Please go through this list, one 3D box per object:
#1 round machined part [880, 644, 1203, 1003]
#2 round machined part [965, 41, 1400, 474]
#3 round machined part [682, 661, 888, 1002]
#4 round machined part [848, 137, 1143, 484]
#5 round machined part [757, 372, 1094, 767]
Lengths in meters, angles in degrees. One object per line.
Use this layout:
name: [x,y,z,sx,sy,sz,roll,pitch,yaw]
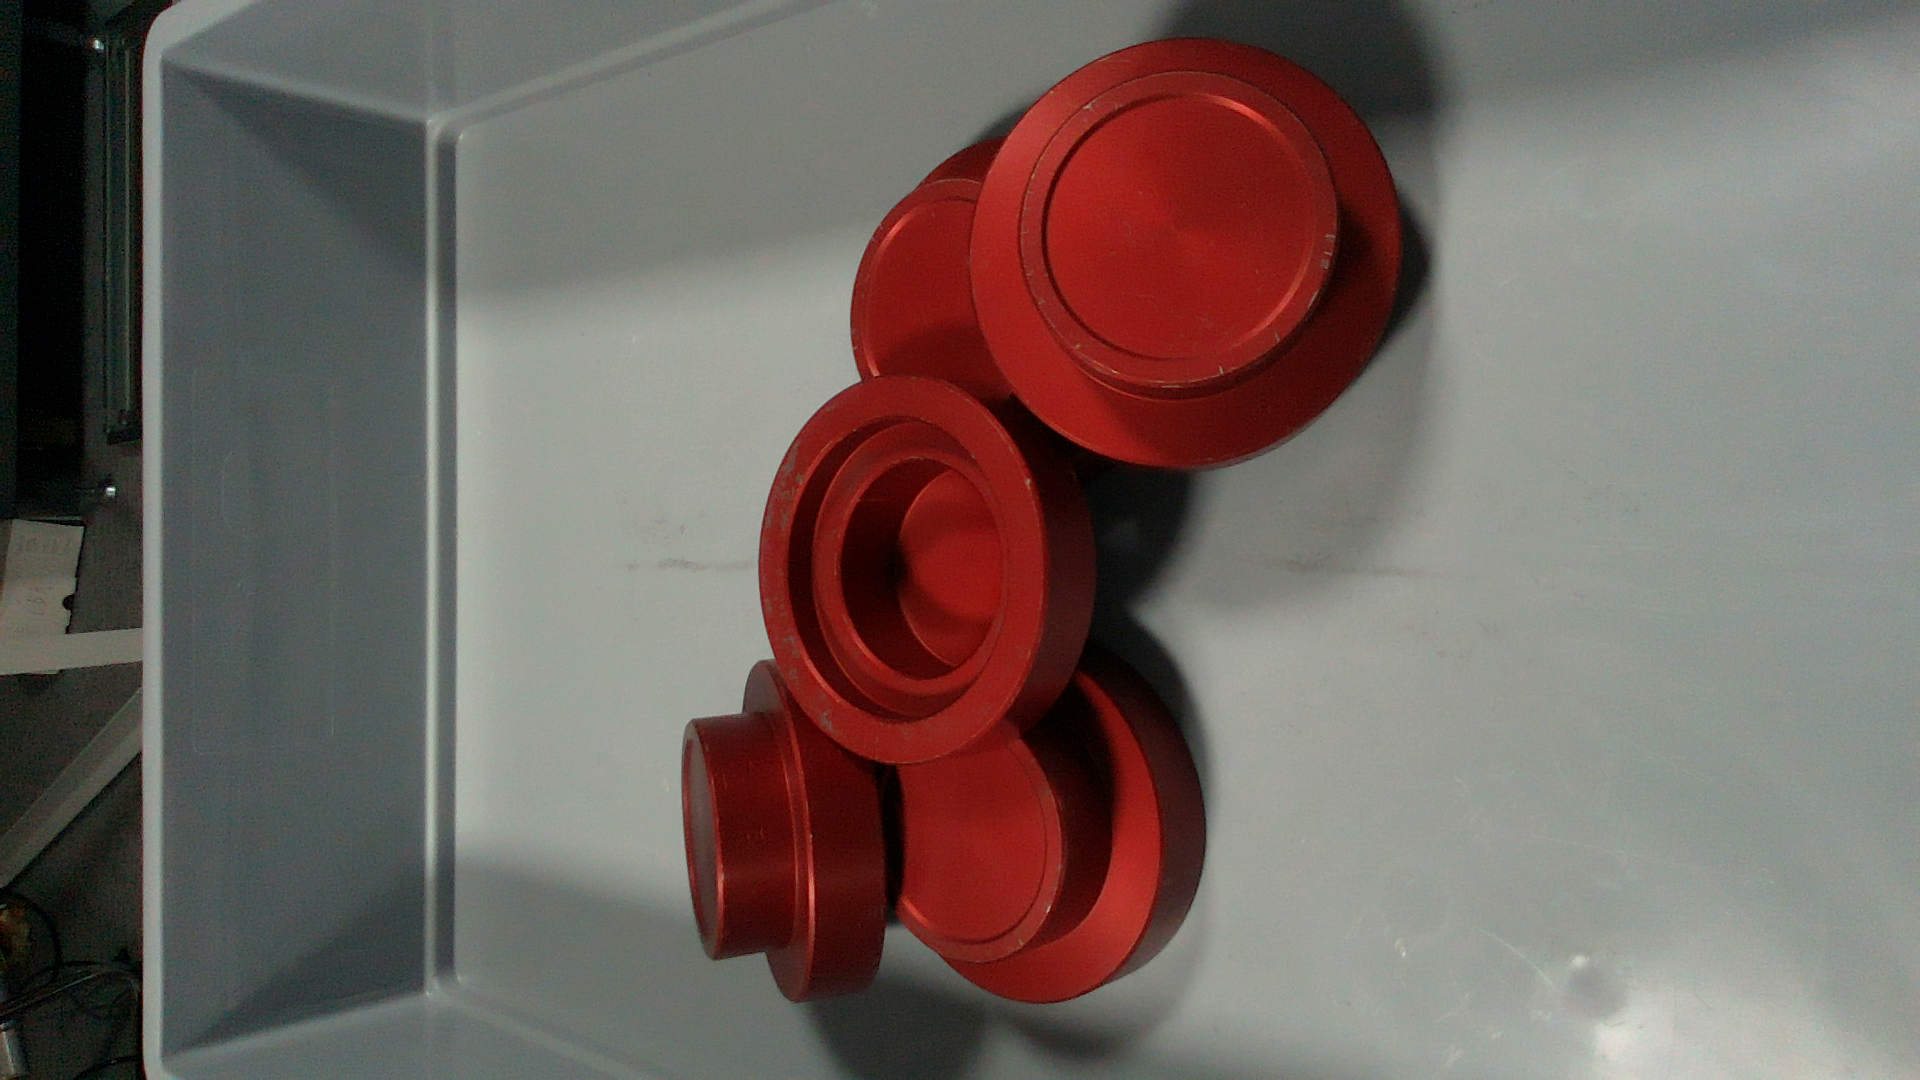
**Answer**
round machined part: [0.013,0.075,0.372,0.098,0.042,0.098,0,90,40]
round machined part: [0.049,-0.066,0.313,0.098,0.042,0.098,0,87,10]
round machined part: [-0.055,0.084,0.401,0.098,0.042,0.098,176,90,-70]
round machined part: [0.008,-0.061,0.375,0.098,0.042,0.098,0,90,40]
round machined part: [-0.005,0.007,0.358,0.098,0.042,0.098,0,90,40]
